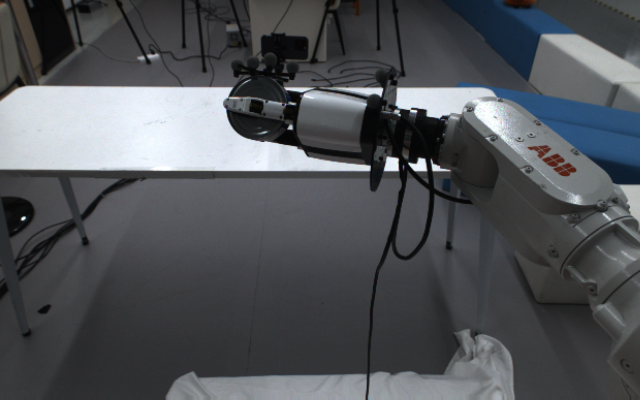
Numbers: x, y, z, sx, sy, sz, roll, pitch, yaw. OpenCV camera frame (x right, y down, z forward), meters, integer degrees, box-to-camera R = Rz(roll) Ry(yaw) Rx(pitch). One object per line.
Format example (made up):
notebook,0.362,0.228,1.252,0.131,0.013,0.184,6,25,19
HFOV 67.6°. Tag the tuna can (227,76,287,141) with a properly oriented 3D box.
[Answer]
tuna can,-0.081,-0.125,0.655,0.085,0.085,0.034,12,2,13
